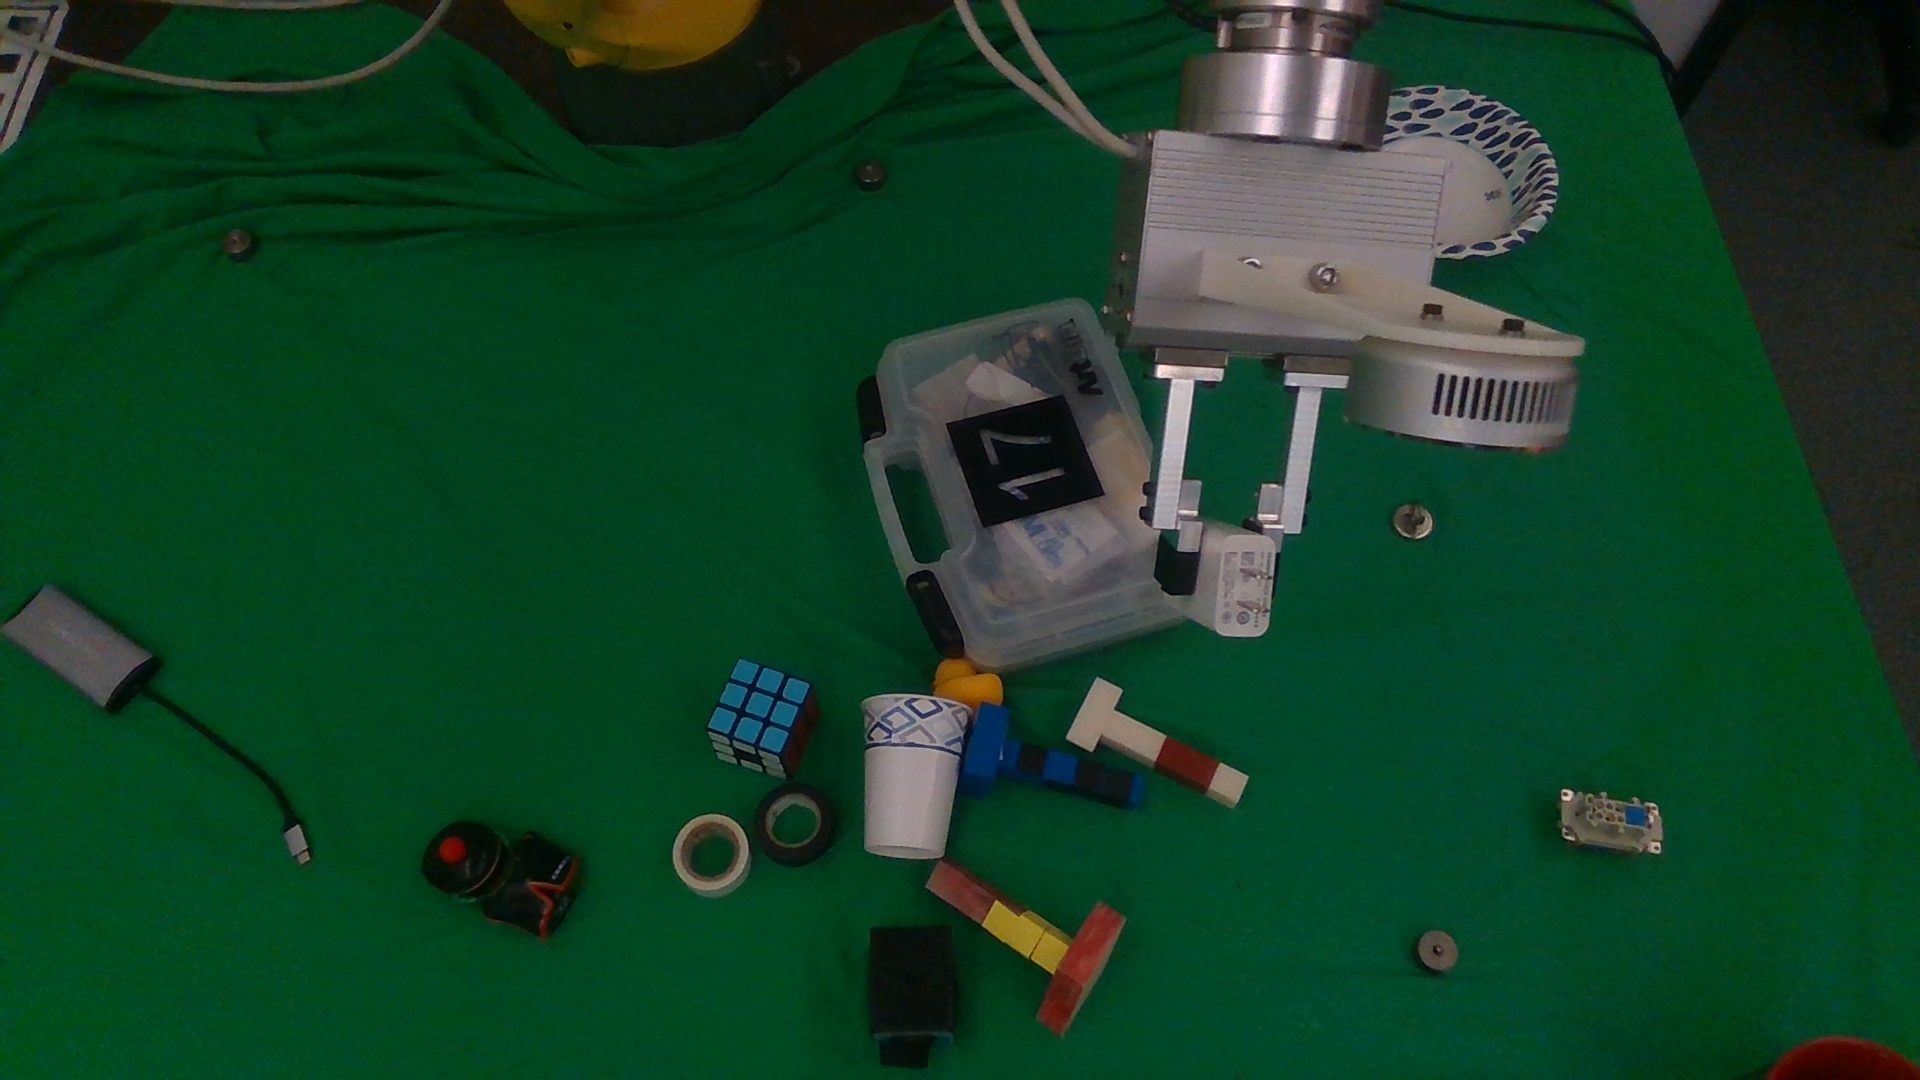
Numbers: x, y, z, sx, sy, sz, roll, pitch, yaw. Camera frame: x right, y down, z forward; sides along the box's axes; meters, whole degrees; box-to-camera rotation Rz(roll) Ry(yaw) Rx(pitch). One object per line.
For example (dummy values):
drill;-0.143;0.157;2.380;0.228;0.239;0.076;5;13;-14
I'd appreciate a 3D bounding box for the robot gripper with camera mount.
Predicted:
robot gripper with camera mount;0.137;-0.031;0.448;0.119;0.193;0.158;0;105;-10

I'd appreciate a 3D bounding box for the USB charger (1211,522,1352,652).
USB charger;0.122;0.017;0.520;0.029;0.076;0.044;-8;97;-17
